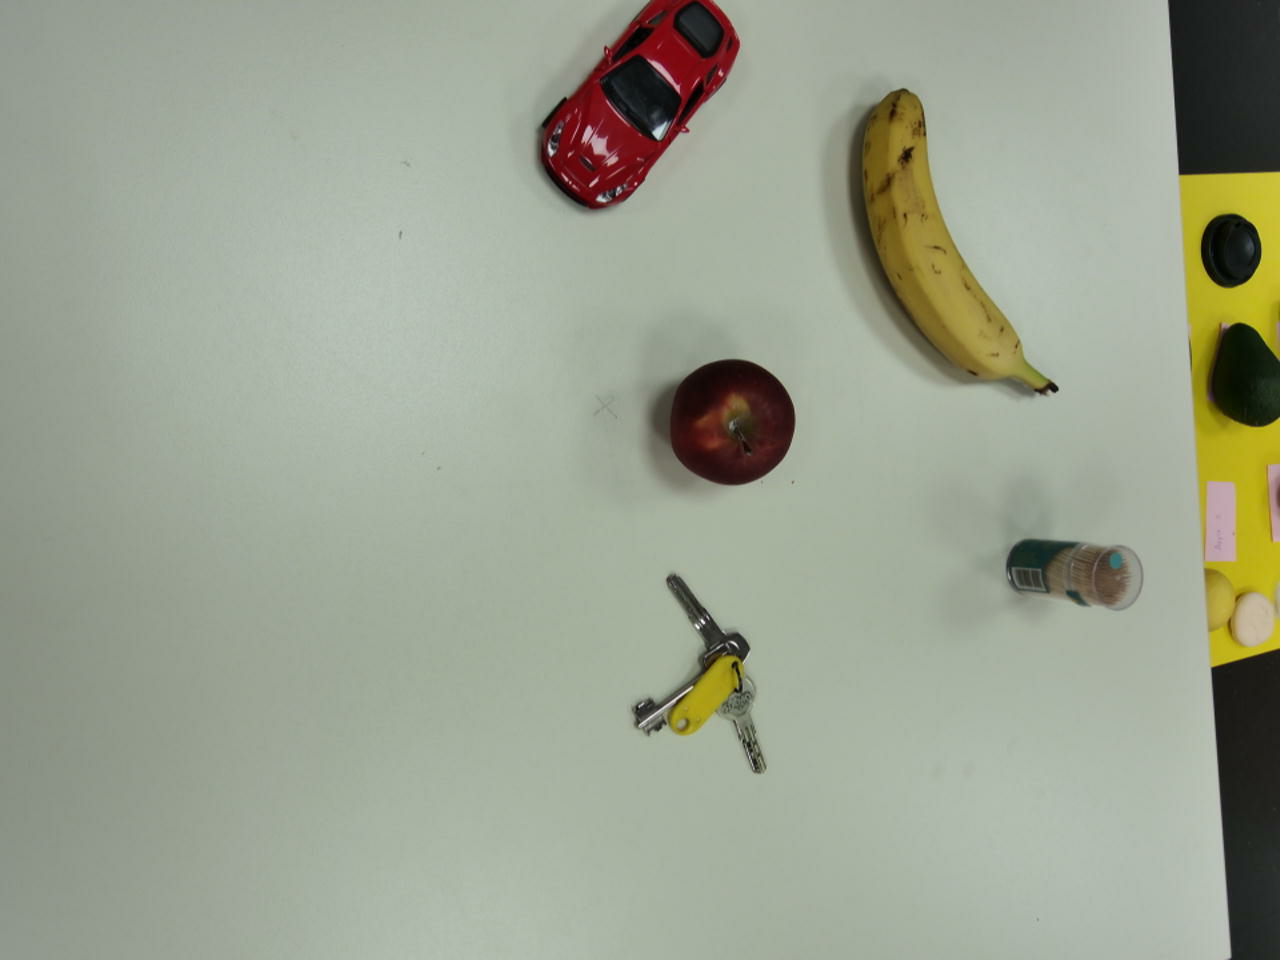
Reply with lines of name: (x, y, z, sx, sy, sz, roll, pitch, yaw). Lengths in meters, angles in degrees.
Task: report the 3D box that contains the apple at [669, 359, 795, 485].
apple: (0.051, -0.031, 0.553, 0.070, 0.072, 0.070, 0, 91, -22)
